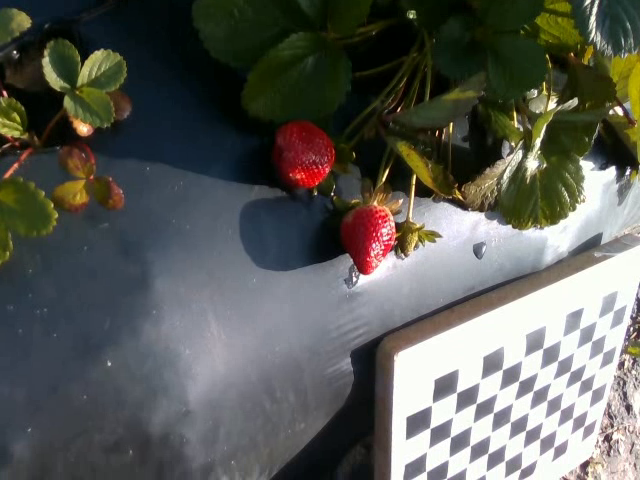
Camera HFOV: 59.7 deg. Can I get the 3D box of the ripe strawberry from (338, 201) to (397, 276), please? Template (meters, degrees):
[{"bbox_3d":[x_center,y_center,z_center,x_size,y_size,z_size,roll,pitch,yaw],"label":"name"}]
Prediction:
[{"bbox_3d":[0.033,0.001,0.355,0.038,0.053,0.043,-20,-40,36],"label":"ripe strawberry"}]

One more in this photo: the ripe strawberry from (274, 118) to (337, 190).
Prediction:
[{"bbox_3d":[-0.011,-0.053,0.347,0.039,0.048,0.054,20,17,30],"label":"ripe strawberry"}]
